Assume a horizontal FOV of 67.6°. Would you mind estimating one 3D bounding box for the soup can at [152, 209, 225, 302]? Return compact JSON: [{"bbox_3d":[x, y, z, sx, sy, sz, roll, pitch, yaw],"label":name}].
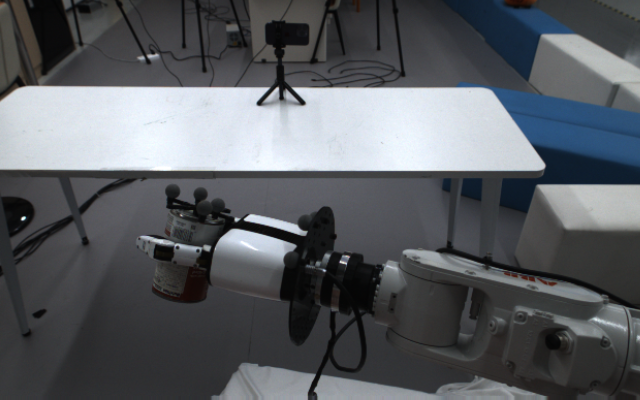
[{"bbox_3d":[-0.156,0.065,0.582,0.067,0.101,0.067,15,7,-2],"label":"soup can"}]
